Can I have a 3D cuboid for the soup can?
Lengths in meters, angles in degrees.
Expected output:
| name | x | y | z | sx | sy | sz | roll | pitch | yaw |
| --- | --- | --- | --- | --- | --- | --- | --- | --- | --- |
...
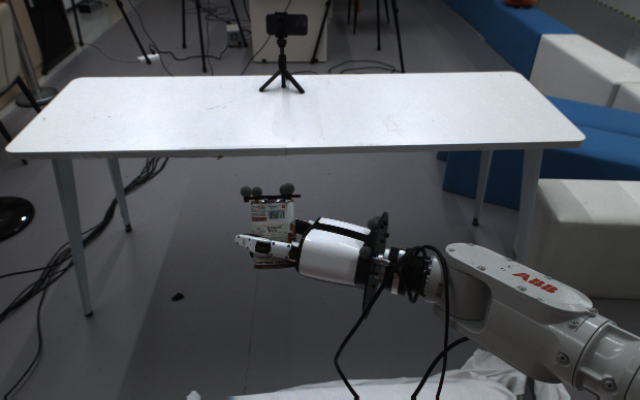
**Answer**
| name | x | y | z | sx | sy | sz | roll | pitch | yaw |
| --- | --- | --- | --- | --- | --- | --- | --- | --- | --- |
| soup can | -0.069 | 0.052 | 0.737 | 0.067 | 0.101 | 0.067 | -3 | -1 | 0 |
